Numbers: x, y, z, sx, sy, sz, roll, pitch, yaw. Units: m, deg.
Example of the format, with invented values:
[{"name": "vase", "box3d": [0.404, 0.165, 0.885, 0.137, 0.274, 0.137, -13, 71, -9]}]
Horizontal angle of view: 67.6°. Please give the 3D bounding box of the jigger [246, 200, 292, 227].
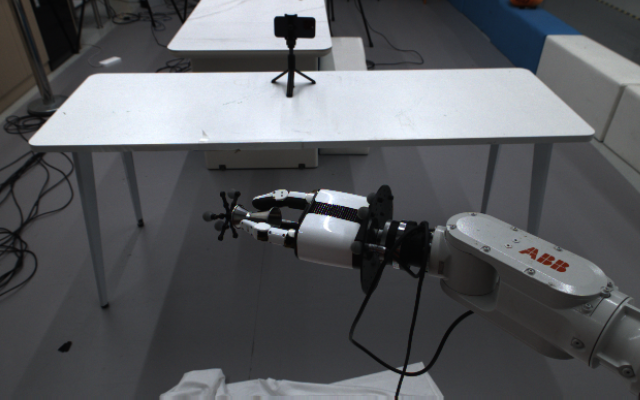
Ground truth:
[{"name": "jigger", "box3d": [-0.092, 0.023, 0.761, 0.071, 0.043, 0.043, 4, 33, 24]}]
